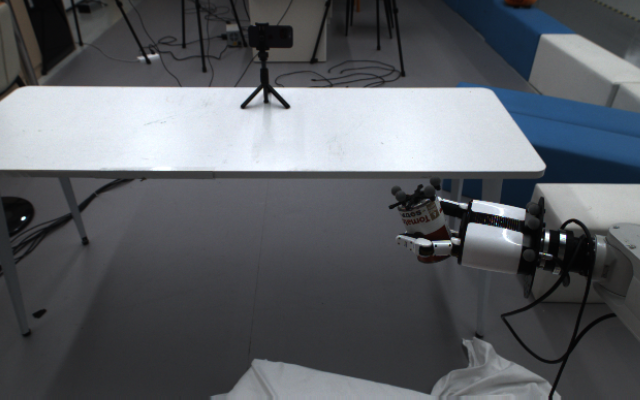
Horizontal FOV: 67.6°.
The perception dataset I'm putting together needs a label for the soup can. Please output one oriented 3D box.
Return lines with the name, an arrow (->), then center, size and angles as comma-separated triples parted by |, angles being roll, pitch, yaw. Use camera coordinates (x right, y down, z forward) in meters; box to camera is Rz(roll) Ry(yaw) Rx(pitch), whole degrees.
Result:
soup can -> 0.176, 0.042, 0.791 | 0.067, 0.101, 0.067 | -23, 16, 7
